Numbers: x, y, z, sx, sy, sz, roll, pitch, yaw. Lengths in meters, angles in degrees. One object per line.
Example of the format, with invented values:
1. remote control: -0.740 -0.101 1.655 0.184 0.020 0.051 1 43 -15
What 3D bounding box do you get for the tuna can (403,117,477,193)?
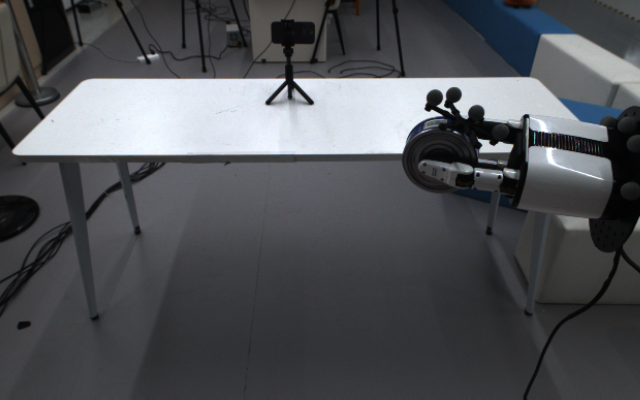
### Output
1. tuna can: 0.141 -0.053 0.563 0.085 0.085 0.034 12 35 14
